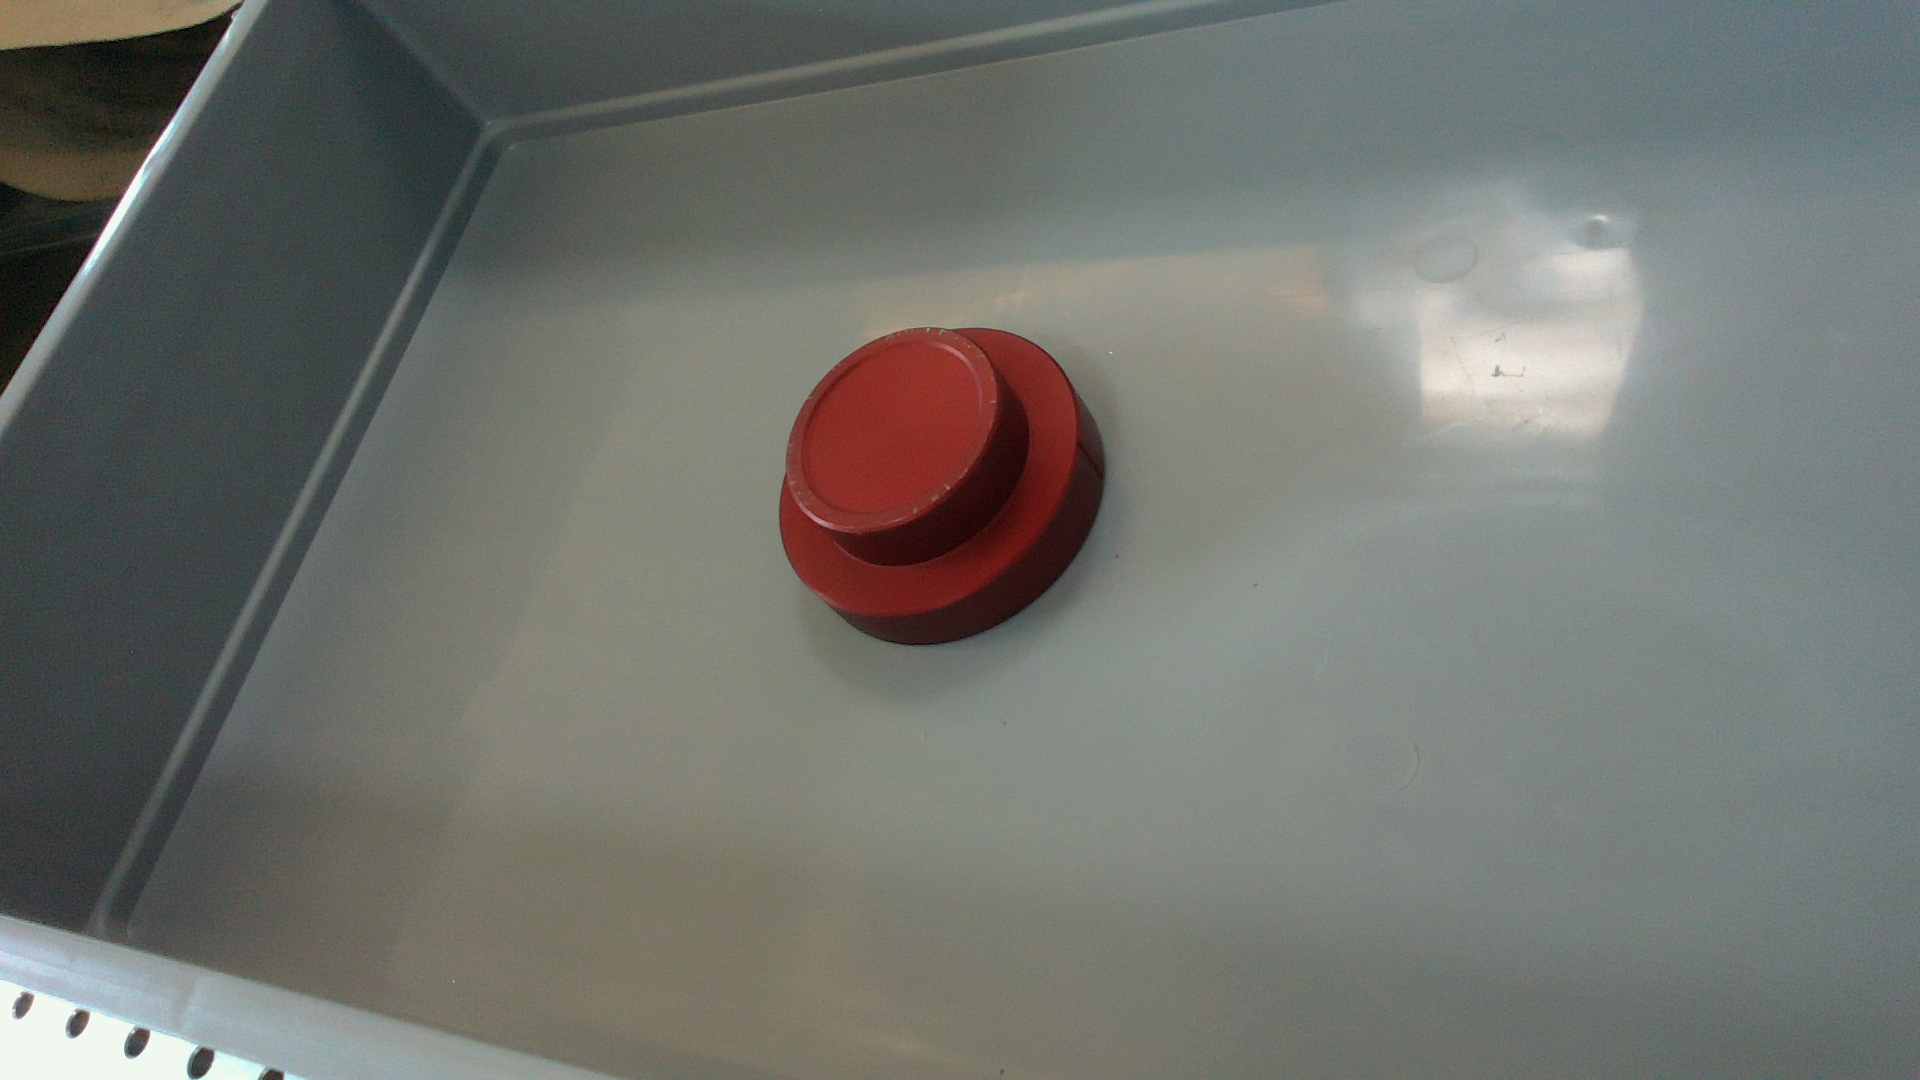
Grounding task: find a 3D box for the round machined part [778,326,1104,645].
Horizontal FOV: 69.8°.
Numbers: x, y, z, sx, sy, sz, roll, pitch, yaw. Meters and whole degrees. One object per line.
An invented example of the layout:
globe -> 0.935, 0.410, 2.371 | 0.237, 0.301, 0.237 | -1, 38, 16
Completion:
round machined part -> -0.011, -0.022, 0.399 | 0.098, 0.042, 0.098 | -13, 56, 21
